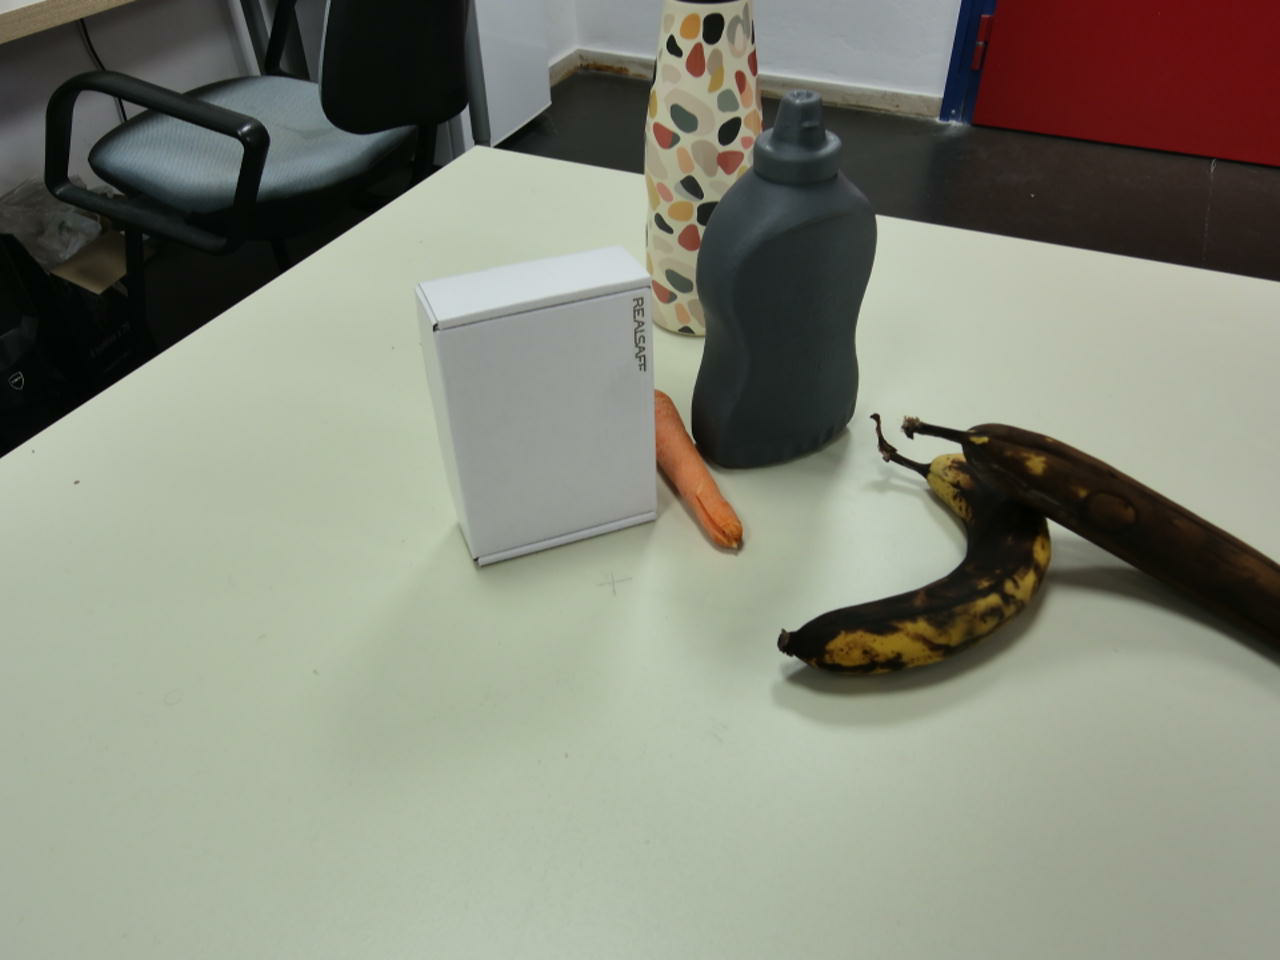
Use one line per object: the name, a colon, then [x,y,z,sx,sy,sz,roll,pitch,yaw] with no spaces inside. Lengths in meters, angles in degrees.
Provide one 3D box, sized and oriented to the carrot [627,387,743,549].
carrot: [0.024,-0.011,0.575,0.030,0.032,0.136,-13,39,-15]
